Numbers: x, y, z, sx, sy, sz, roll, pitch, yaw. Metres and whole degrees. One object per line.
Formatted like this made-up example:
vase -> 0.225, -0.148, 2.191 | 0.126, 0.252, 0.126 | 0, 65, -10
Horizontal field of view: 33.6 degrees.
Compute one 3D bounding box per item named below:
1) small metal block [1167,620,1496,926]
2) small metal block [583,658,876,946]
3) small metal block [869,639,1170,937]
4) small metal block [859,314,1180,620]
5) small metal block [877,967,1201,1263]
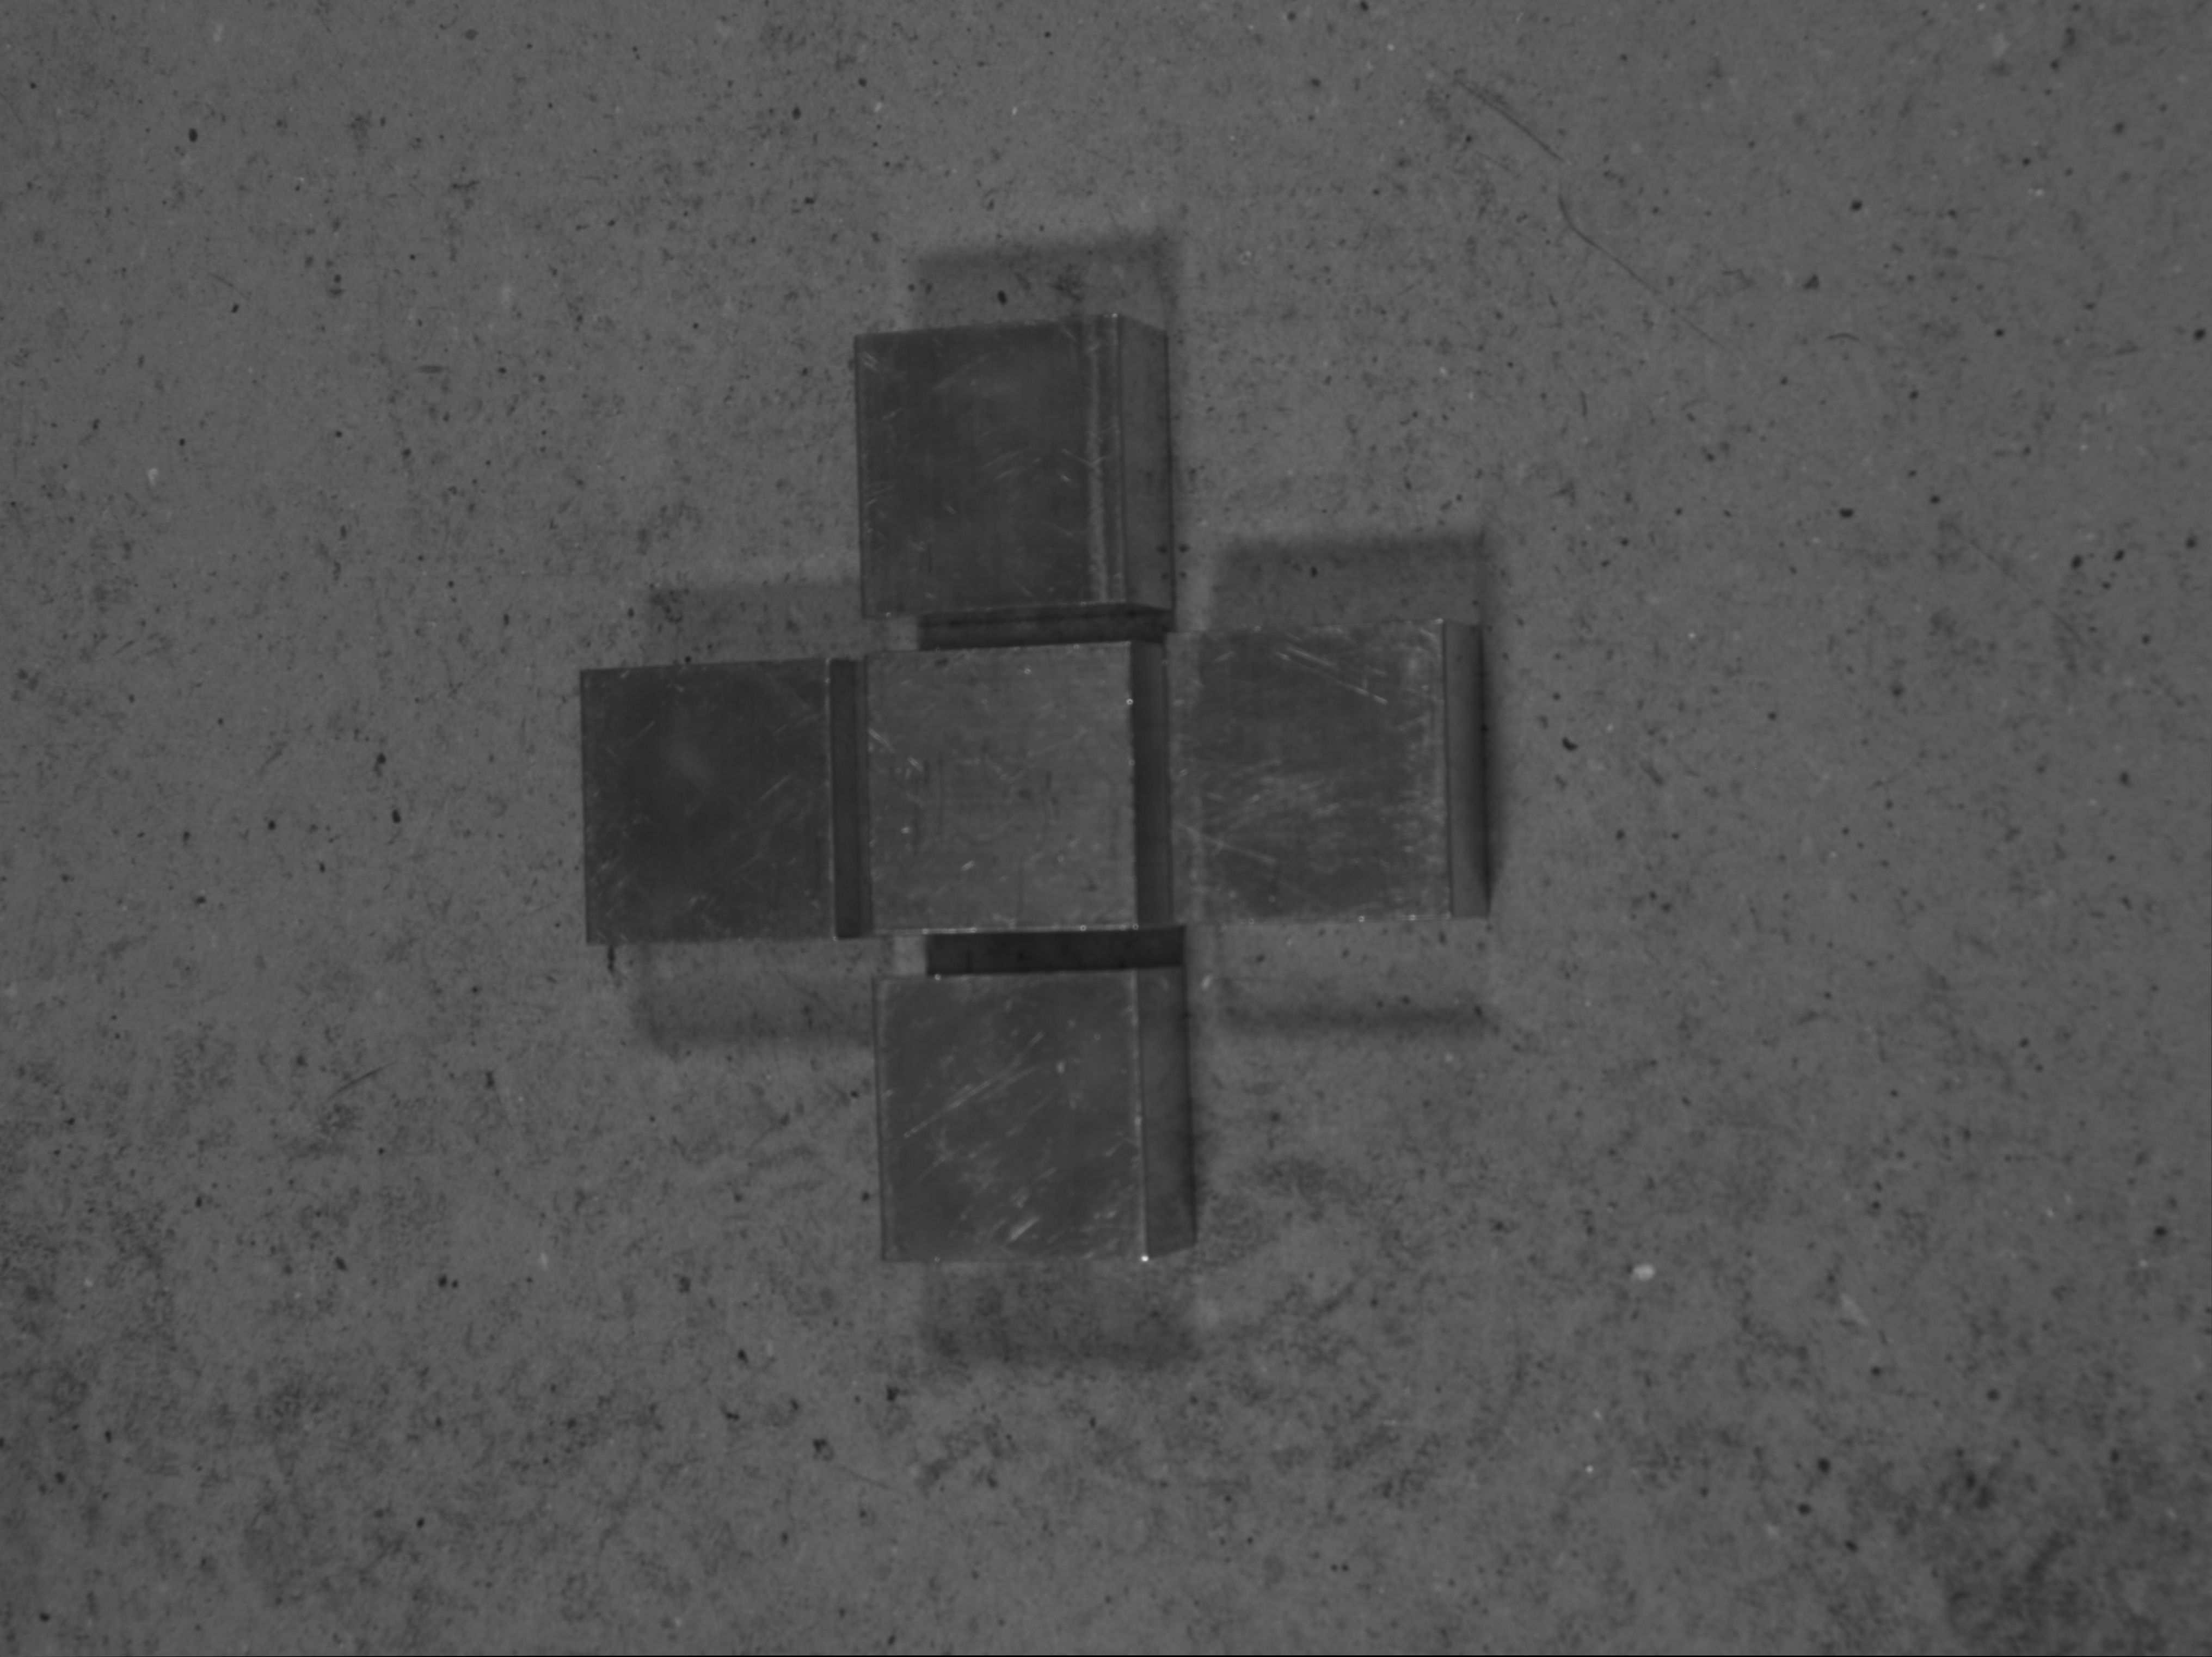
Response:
small metal block -> 0.039, -0.009, 0.631 | 0.050, 0.025, 0.050 | -2, 89, 20
small metal block -> -0.067, -0.004, 0.668 | 0.050, 0.025, 0.050 | -2, 89, 20
small metal block -> -0.013, -0.007, 0.649 | 0.050, 0.025, 0.050 | -2, 89, 20
small metal block -> -0.015, -0.063, 0.650 | 0.050, 0.025, 0.050 | -2, 89, 20
small metal block -> -0.012, 0.051, 0.649 | 0.050, 0.025, 0.050 | -2, 89, 20
